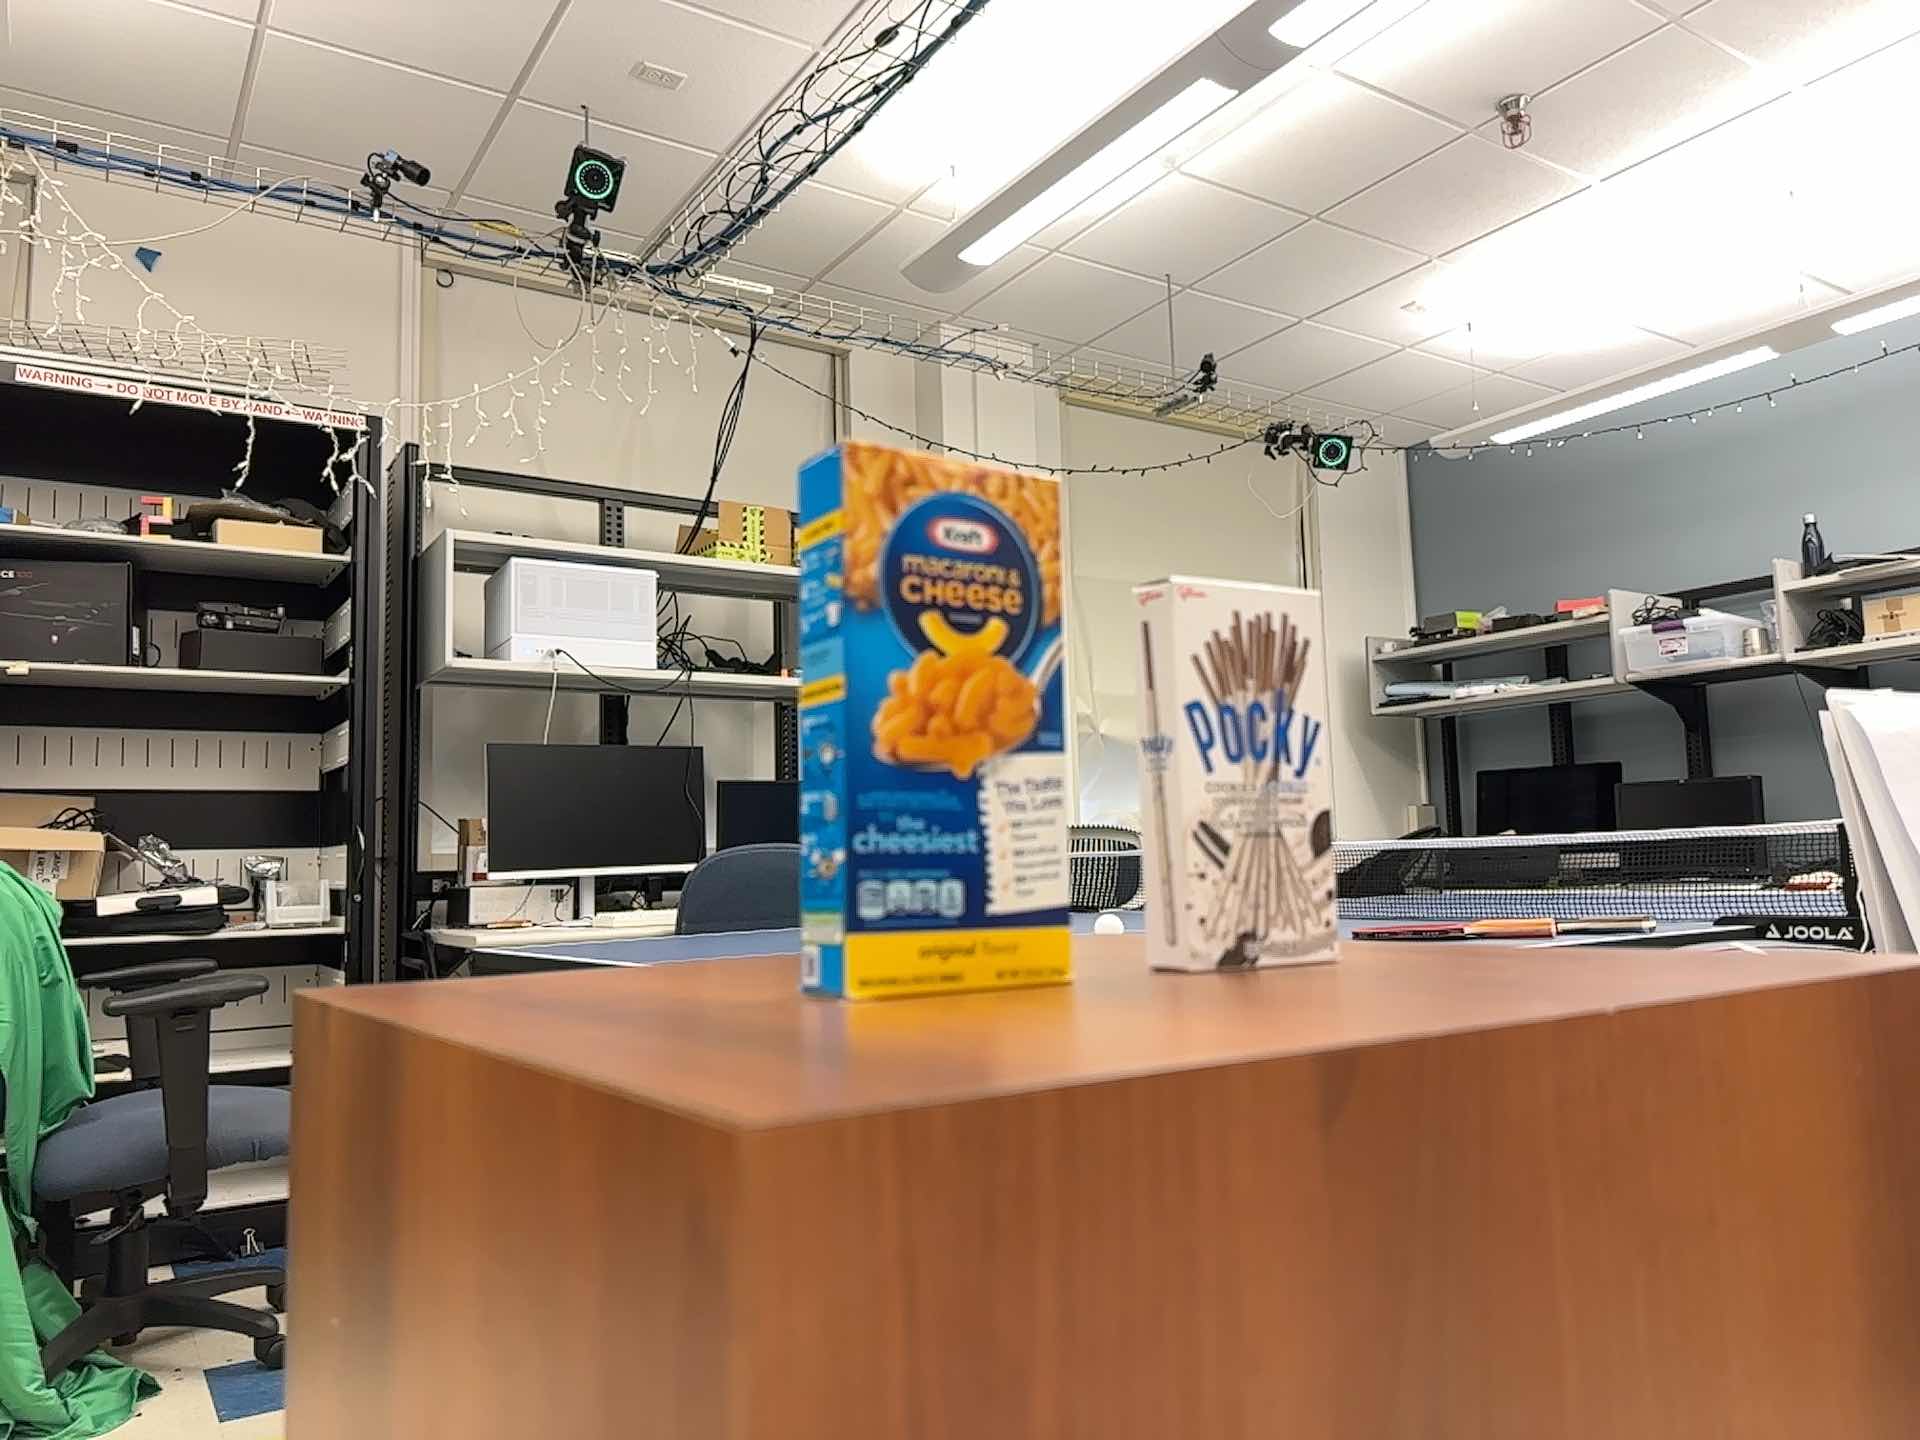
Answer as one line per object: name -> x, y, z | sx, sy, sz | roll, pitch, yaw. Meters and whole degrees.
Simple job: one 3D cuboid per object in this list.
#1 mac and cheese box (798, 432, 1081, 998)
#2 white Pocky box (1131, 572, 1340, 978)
mac and cheese box -> -0.007, 0.000, 0.466 | 0.088, 0.181, 0.035 | 2, -8, -29
white Pocky box -> 0.109, 0.022, 0.529 | 0.084, 0.154, 0.028 | 3, -7, -27
